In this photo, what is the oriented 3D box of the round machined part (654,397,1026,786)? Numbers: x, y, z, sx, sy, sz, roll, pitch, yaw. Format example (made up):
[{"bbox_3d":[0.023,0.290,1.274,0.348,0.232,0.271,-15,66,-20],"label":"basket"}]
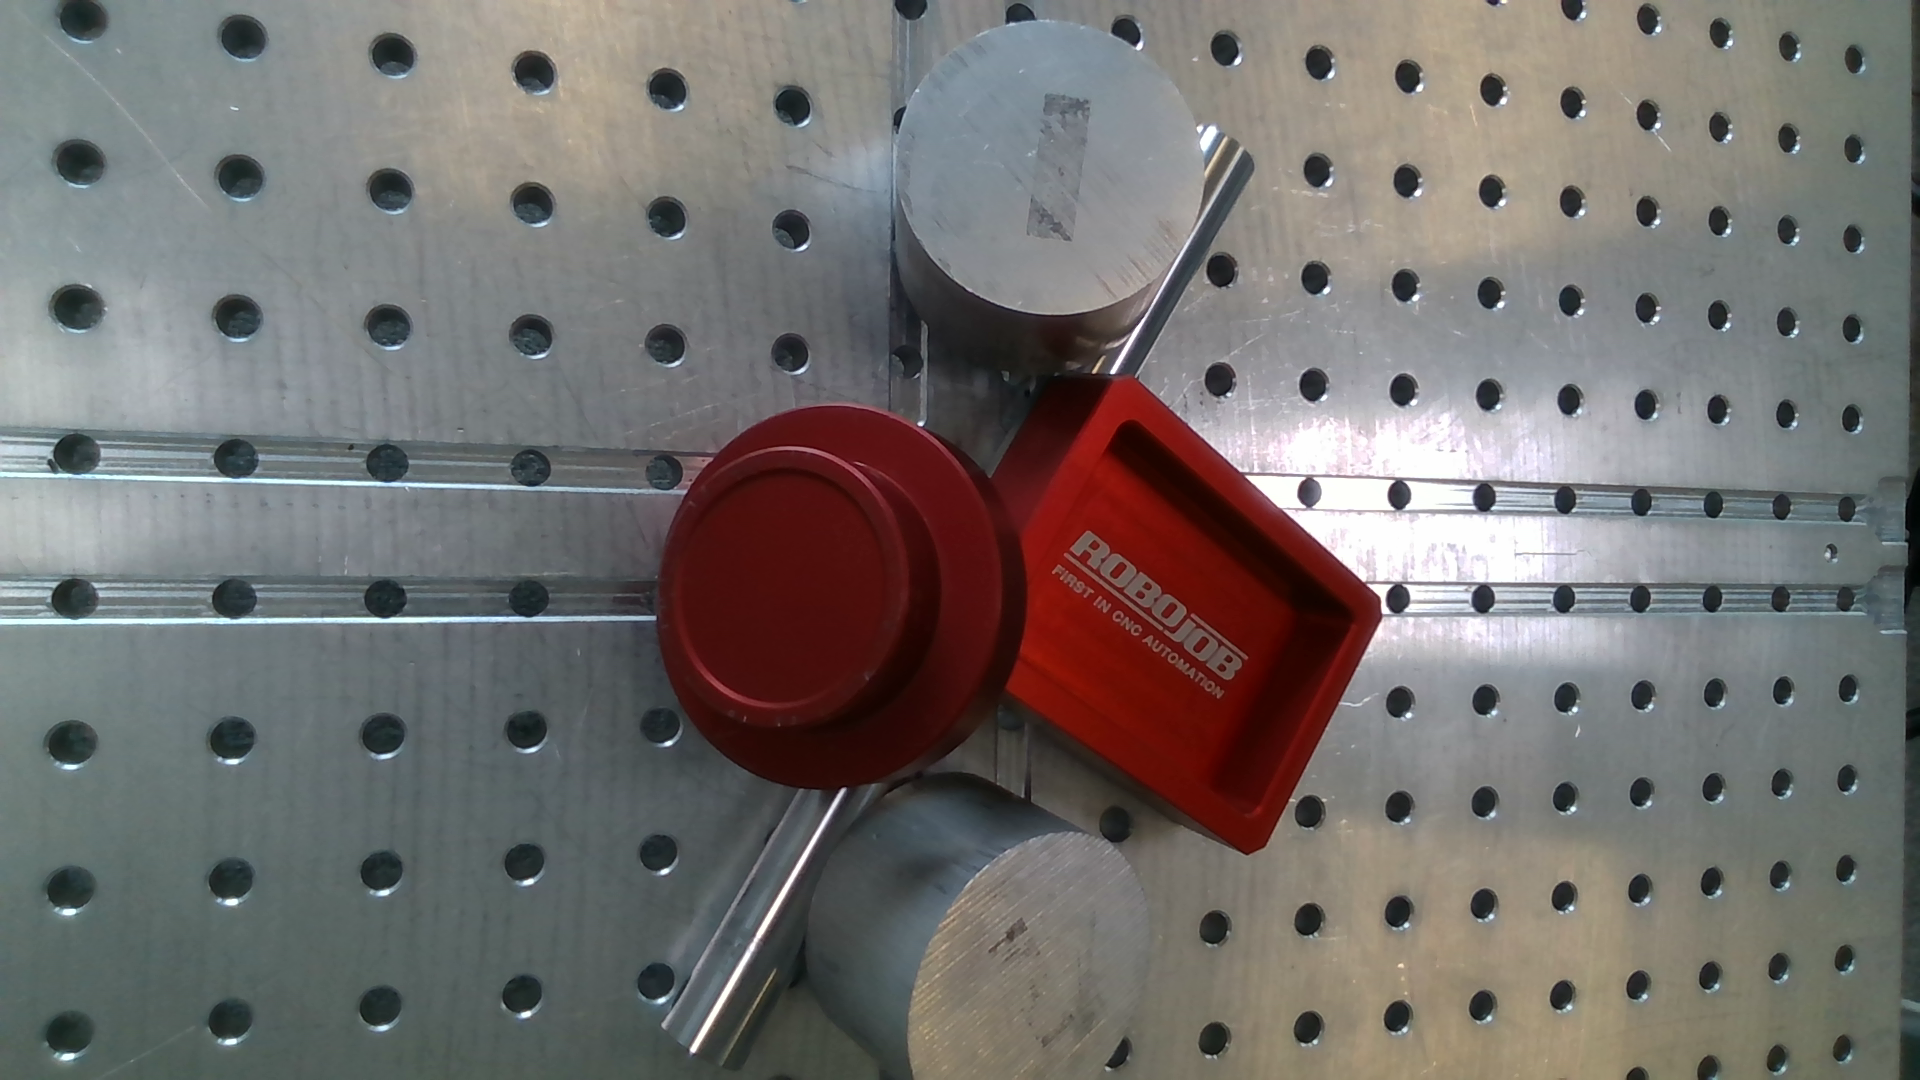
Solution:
[{"bbox_3d":[-0.036,0.012,0.345,0.098,0.042,0.098,-2,83,22],"label":"round machined part"}]

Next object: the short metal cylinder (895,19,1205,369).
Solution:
[{"bbox_3d":[0.022,-0.093,0.378,0.080,0.050,0.080,1,80,-3],"label":"short metal cylinder"}]

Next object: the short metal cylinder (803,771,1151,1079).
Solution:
[{"bbox_3d":[0.005,0.108,0.373,0.080,0.050,0.080,-9,106,-35],"label":"short metal cylinder"}]

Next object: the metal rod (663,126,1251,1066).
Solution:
[{"bbox_3d":[0.005,0.008,0.398,0.025,0.025,0.300,33,79,-17],"label":"metal rod"}]

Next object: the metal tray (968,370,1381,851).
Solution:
[{"bbox_3d":[0.058,0.022,0.400,0.130,0.030,0.090,36,78,-30],"label":"metal tray"}]
